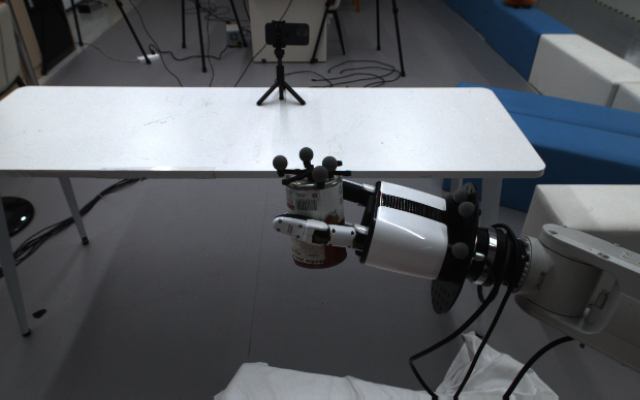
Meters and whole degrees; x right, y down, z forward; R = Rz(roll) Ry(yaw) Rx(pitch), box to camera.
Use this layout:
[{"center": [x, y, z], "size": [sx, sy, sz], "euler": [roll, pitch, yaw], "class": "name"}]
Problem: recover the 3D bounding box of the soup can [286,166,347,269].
[{"center": [-0.002, 0.021, 0.571], "size": [0.067, 0.101, 0.067], "euler": [-4, 21, 1], "class": "soup can"}]
